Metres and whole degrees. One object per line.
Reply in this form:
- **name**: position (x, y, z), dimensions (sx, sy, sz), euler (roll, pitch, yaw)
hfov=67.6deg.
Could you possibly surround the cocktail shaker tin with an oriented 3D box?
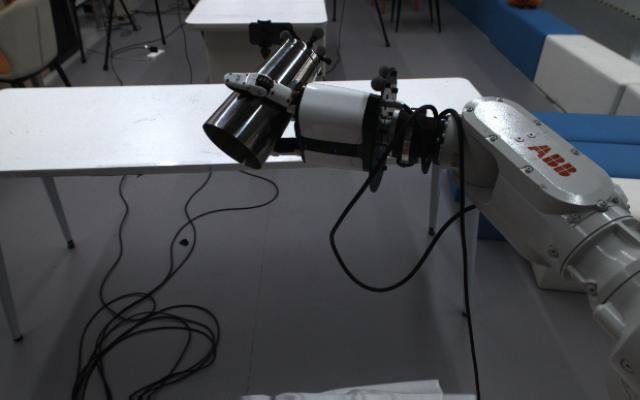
- **cocktail shaker tin**: position (-0.071, -0.140, 0.658), dimensions (0.093, 0.093, 0.170), euler (24, 69, 28)
